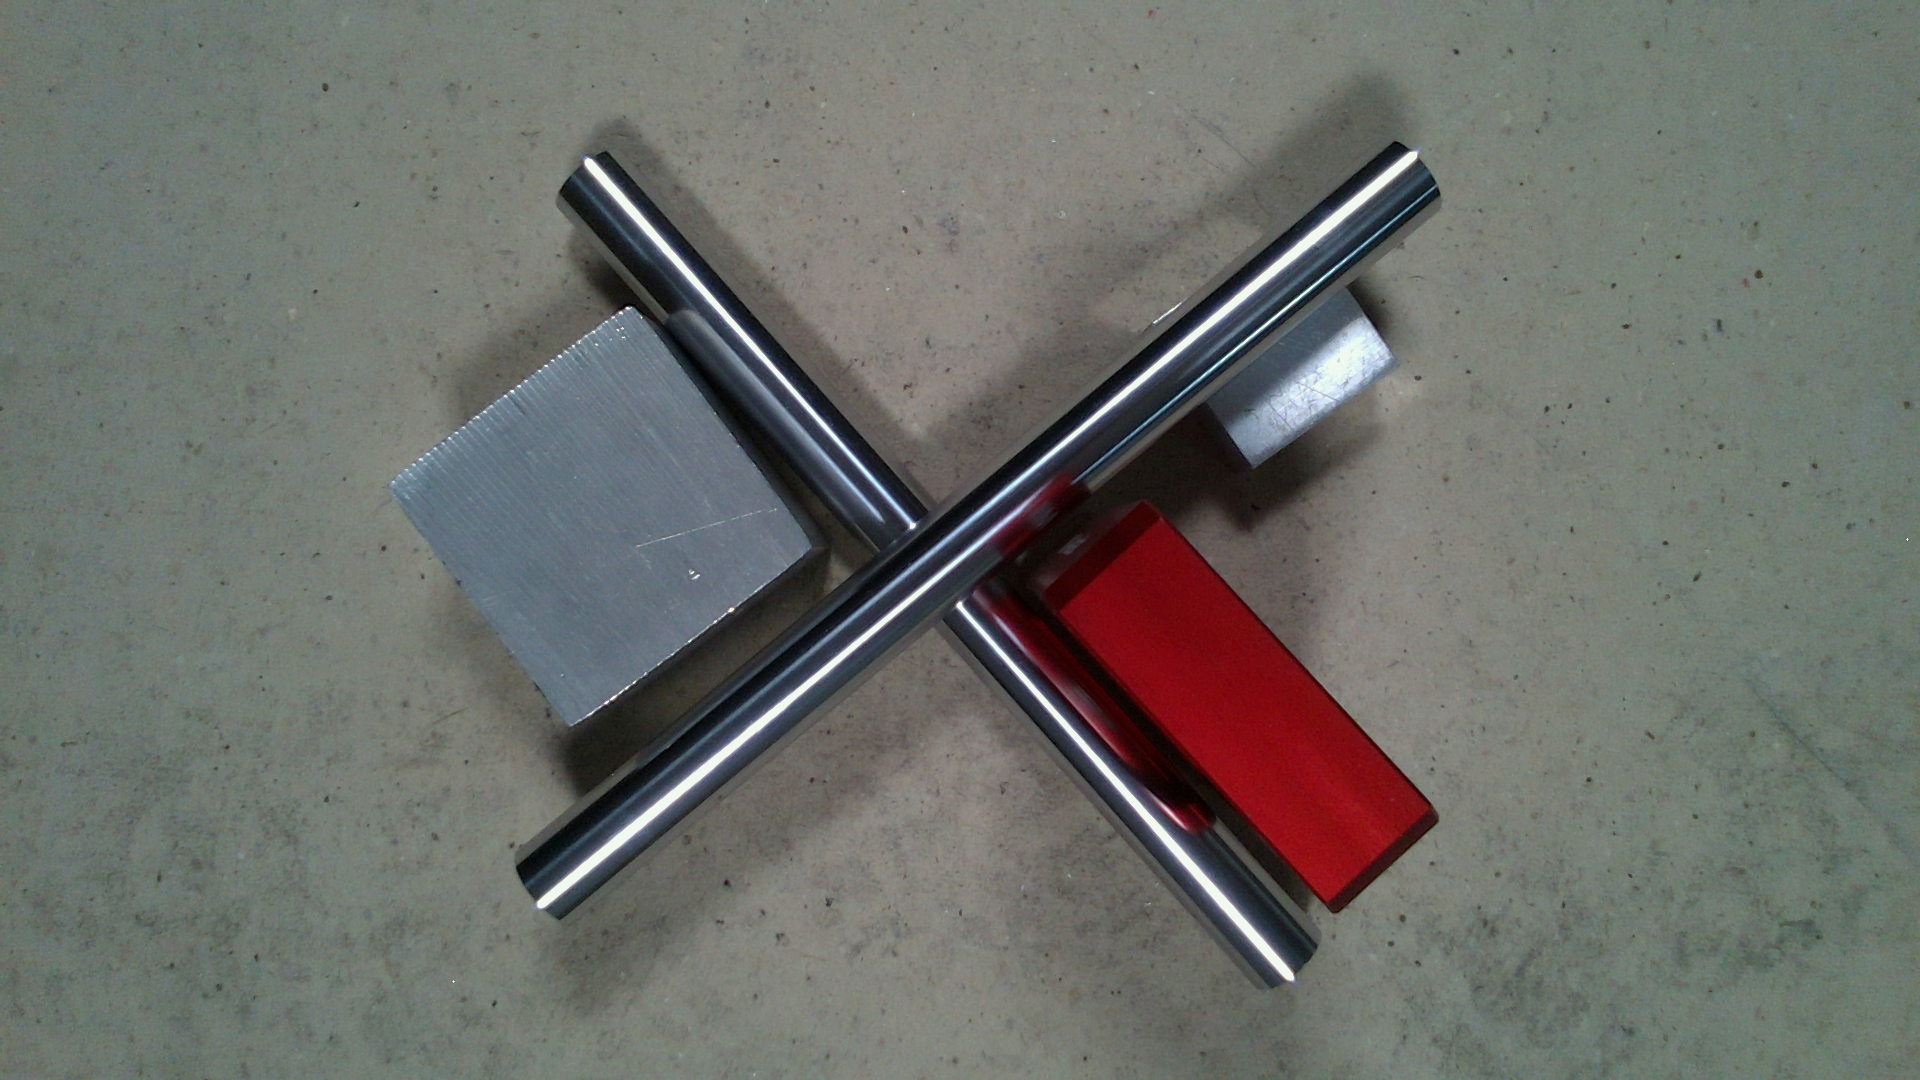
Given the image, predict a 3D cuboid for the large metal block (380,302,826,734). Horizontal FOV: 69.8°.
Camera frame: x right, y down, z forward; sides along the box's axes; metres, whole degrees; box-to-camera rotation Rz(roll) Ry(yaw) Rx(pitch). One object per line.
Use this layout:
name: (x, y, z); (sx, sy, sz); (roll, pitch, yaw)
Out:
large metal block: (-0.094, -0.006, 0.381); (0.080, 0.050, 0.080); (-37, 90, 0)

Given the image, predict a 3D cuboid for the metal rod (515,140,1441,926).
metal rod: (0.005, -0.002, 0.370); (0.300, 0.025, 0.025); (-40, 90, 0)

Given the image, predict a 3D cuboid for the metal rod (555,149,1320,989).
metal rod: (-0.006, 0.009, 0.396); (0.025, 0.025, 0.300); (-42, 90, 0)

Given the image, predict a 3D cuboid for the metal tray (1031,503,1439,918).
metal tray: (0.059, 0.035, 0.343); (0.030, 0.130, 0.090); (-42, 90, 1)

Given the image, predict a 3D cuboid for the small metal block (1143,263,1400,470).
small metal block: (0.088, -0.055, 0.395); (0.050, 0.025, 0.050); (-36, 90, 0)
